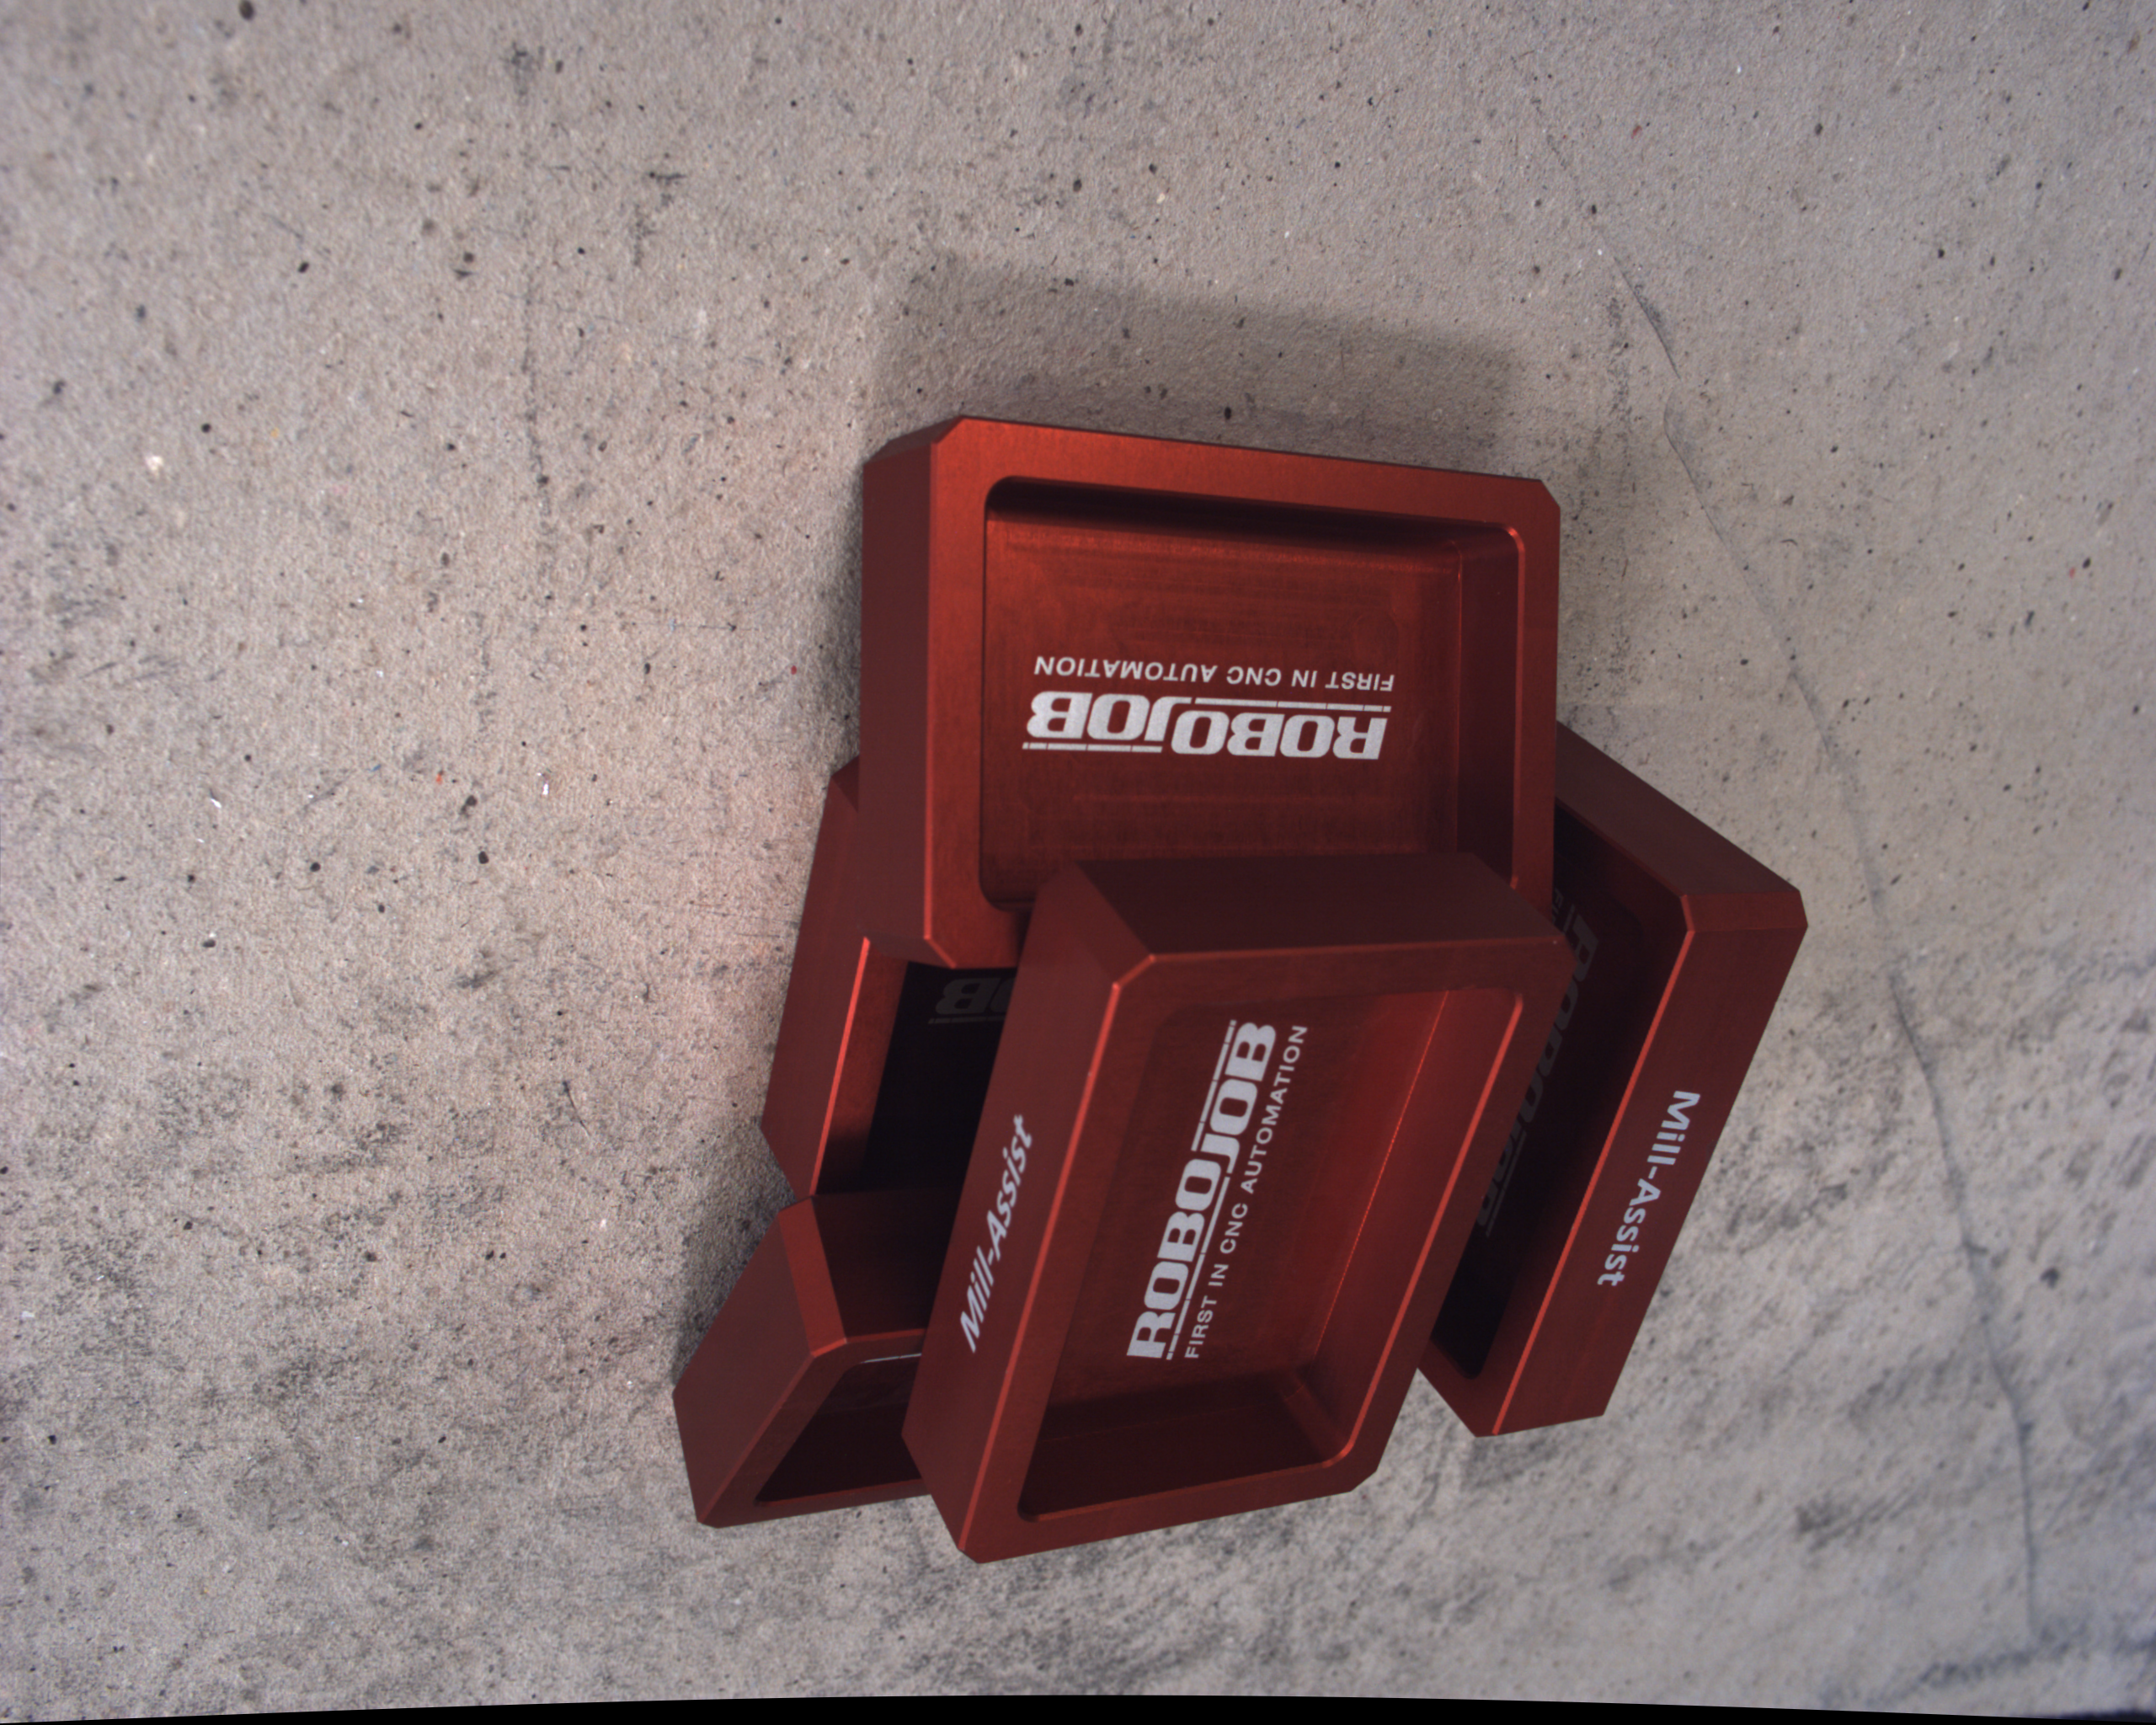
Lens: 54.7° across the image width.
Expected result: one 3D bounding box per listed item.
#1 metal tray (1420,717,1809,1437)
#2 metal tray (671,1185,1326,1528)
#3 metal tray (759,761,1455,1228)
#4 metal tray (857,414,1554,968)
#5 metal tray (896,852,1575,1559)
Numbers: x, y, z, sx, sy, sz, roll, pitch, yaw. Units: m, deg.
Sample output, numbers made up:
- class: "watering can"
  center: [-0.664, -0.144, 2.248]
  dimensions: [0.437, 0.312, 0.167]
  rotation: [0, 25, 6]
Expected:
- class: "metal tray"
  center: [0.092, 0.043, 0.443]
  dimensions: [0.030, 0.090, 0.129]
  rotation: [-1, 119, -28]
- class: "metal tray"
  center: [-0.010, 0.100, 0.439]
  dimensions: [0.131, 0.030, 0.089]
  rotation: [0, 144, -29]
- class: "metal tray"
  center: [0.008, 0.026, 0.423]
  dimensions: [0.131, 0.030, 0.089]
  rotation: [-1, 120, -28]
- class: "metal tray"
  center: [0.026, -0.029, 0.379]
  dimensions: [0.131, 0.030, 0.089]
  rotation: [-1, 92, -29]
- class: "metal tray"
  center: [0.025, 0.061, 0.373]
  dimensions: [0.091, 0.030, 0.129]
  rotation: [-1, 121, -28]
